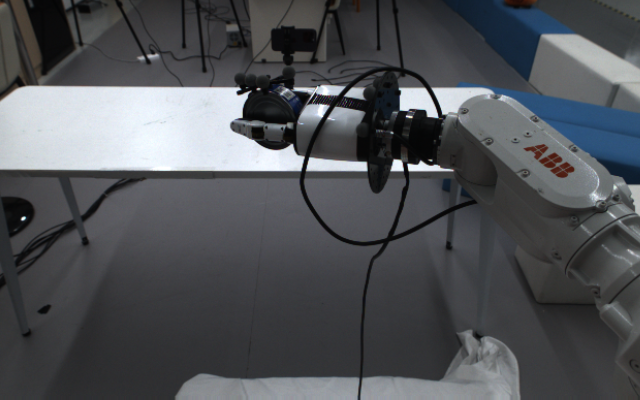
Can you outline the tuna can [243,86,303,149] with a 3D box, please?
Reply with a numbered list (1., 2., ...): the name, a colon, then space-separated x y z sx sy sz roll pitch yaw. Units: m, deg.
1. tuna can: -0.062 -0.116 0.676 0.085 0.085 0.034 17 36 20
